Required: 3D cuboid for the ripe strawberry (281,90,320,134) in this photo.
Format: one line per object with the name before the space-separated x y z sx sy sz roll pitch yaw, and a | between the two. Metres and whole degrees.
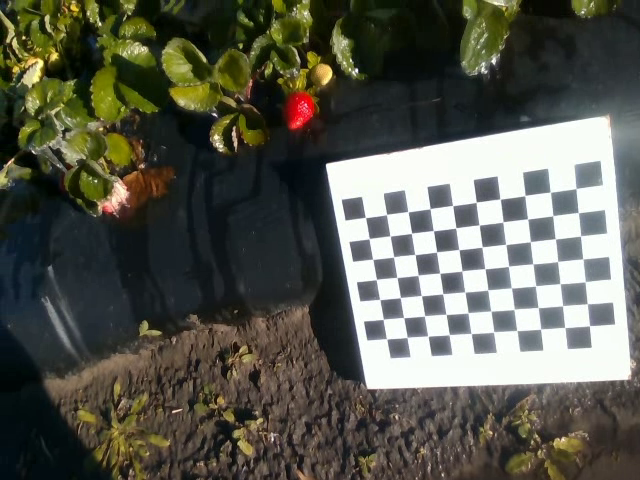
ripe strawberry | -0.019 -0.107 0.563 0.039 0.040 0.039 -15 35 31
